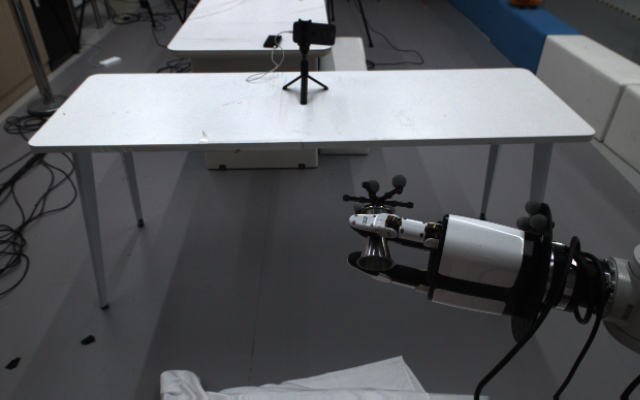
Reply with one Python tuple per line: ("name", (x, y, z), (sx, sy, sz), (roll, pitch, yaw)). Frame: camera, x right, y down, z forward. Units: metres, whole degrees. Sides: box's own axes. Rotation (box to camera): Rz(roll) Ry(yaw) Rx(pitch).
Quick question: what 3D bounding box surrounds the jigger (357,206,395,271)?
("jigger", (0.066, 0.044, 0.587), (0.043, 0.043, 0.071), (5, 60, 5))
